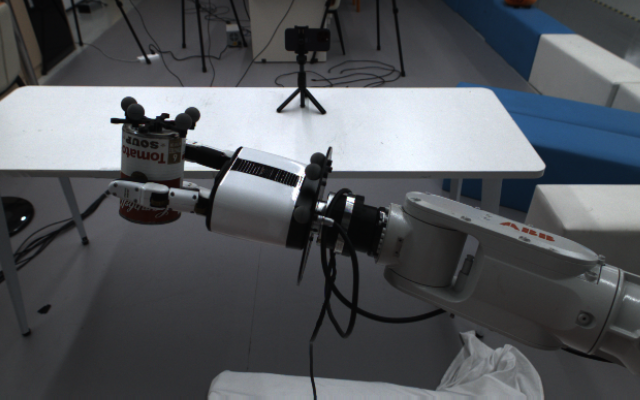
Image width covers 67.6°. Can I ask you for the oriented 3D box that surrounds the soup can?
[{"bbox_3d":[-0.185,-0.031,0.540,0.067,0.101,0.067,9,20,-3],"label":"soup can"}]
